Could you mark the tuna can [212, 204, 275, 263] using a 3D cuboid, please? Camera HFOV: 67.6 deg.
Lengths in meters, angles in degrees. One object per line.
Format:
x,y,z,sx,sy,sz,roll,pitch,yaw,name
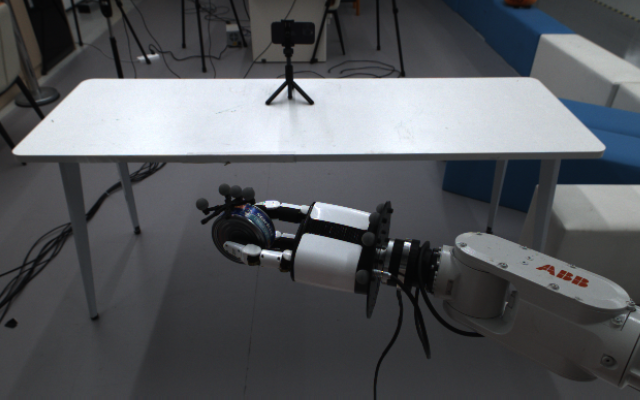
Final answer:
-0.105,0.054,0.680,0.085,0.085,0.034,11,34,13,tuna can
